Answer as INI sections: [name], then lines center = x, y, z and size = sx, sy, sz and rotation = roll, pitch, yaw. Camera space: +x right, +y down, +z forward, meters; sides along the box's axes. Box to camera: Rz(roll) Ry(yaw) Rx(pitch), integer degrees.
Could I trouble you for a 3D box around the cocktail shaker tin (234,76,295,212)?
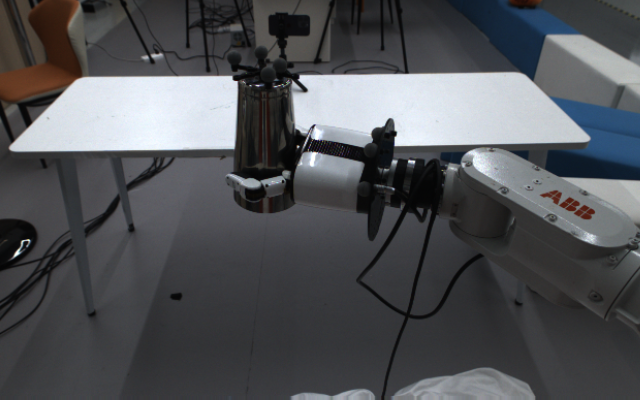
[cocktail shaker tin]
center = -0.070, -0.079, 0.635
size = 0.093, 0.170, 0.093
rotation = 2, 35, -2
